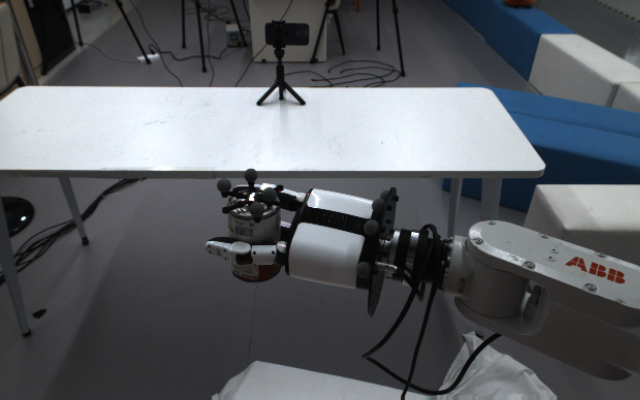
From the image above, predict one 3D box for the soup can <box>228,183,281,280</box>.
[{"bbox_3d":[-0.082,0.047,0.620,0.067,0.101,0.067,2,32,-1],"label":"soup can"}]
